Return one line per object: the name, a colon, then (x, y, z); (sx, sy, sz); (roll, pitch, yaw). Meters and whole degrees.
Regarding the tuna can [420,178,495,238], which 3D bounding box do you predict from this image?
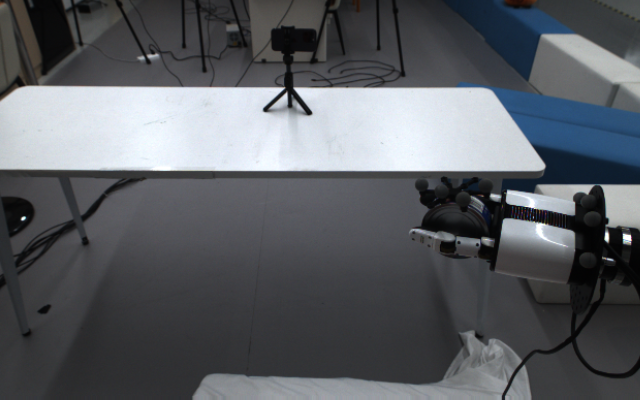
tuna can: (0.181, 0.030, 0.634); (0.085, 0.085, 0.034); (17, 37, 20)
